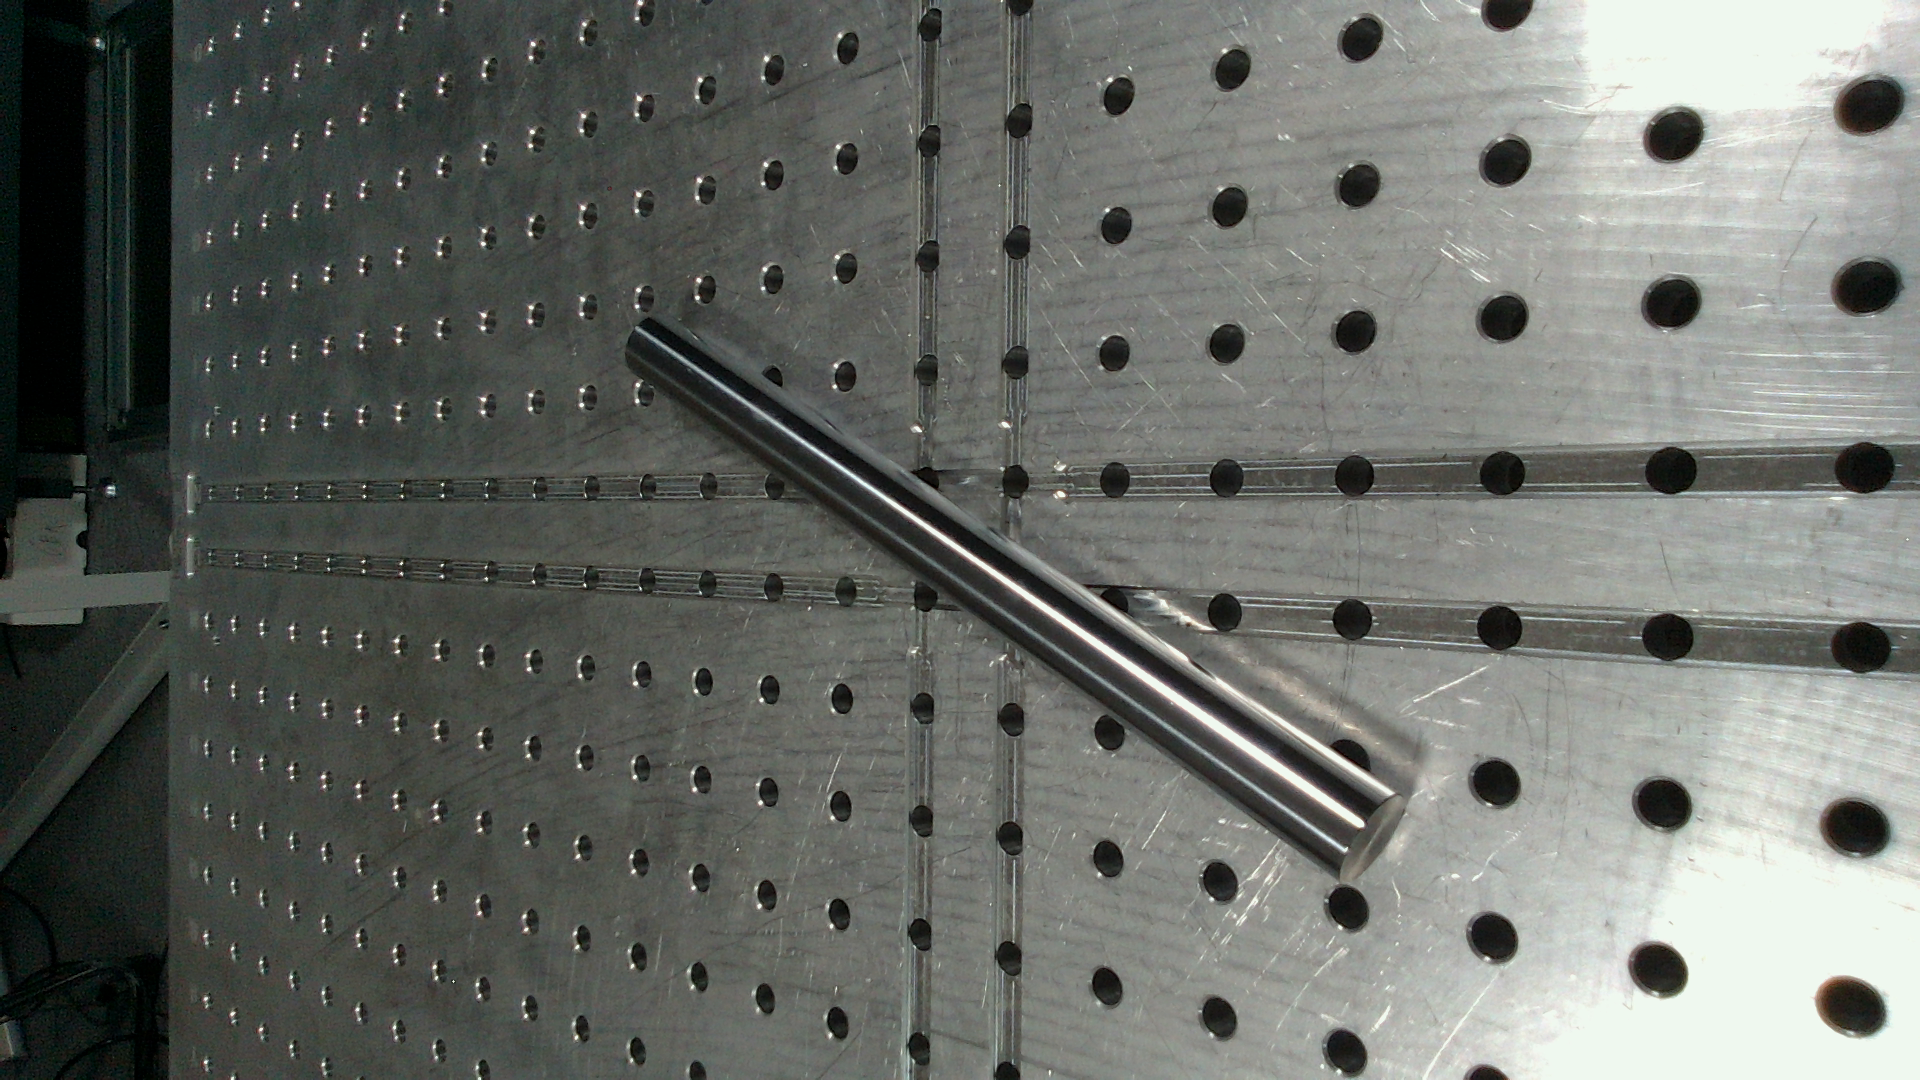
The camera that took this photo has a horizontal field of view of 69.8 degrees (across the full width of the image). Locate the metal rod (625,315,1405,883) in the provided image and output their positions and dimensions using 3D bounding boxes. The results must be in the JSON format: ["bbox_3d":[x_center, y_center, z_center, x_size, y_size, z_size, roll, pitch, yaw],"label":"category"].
[{"bbox_3d":[-0.006,0.000,0.403,0.299,0.025,0.025,34,111,35],"label":"metal rod"}]
